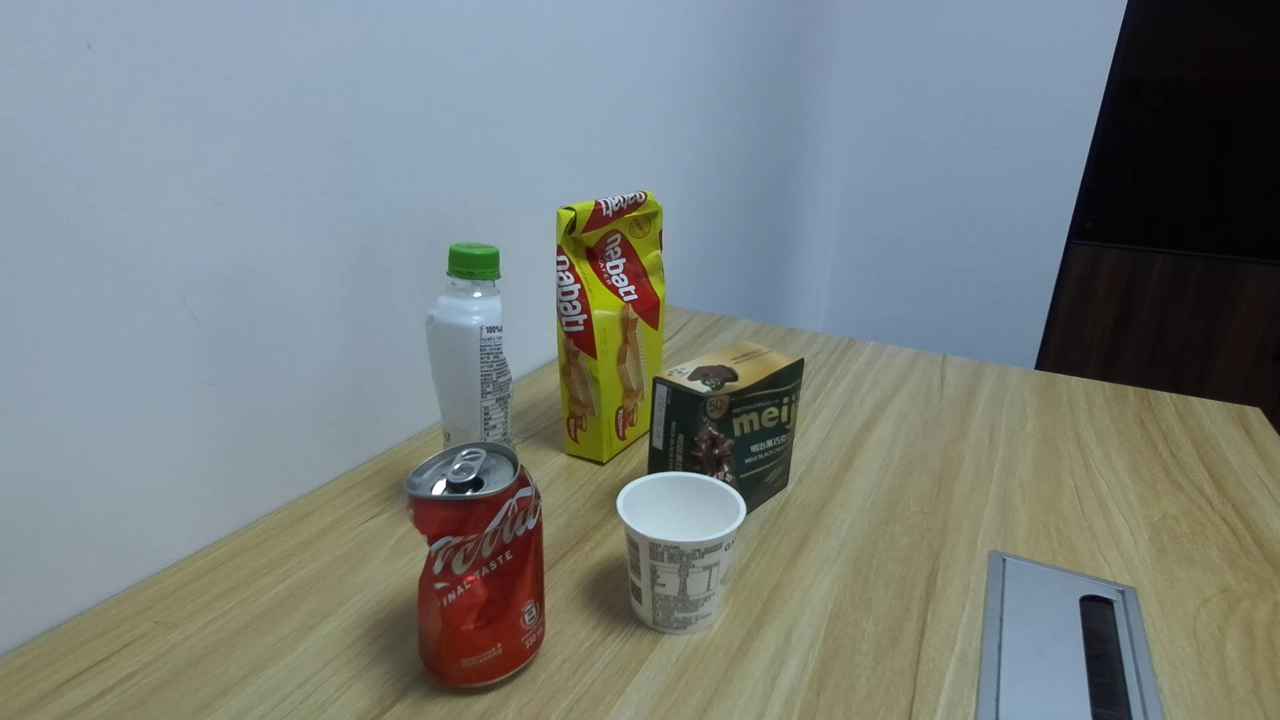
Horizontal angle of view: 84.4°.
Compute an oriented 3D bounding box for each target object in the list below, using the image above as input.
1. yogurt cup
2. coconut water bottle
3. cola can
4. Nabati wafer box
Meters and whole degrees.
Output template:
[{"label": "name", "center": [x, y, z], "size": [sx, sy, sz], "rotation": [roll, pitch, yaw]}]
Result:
[{"label": "yogurt cup", "center": [0.022, 0.110, 0.401], "size": [0.072, 0.068, 0.072], "rotation": [1, 22, 0]}, {"label": "coconut water bottle", "center": [-0.108, 0.018, 0.465], "size": [0.069, 0.187, 0.069], "rotation": [1, 19, 0]}, {"label": "cola can", "center": [-0.082, 0.102, 0.358], "size": [0.069, 0.112, 0.065], "rotation": [-16, 27, -38]}, {"label": "Nabati wafer box", "center": [-0.021, -0.026, 0.567], "size": [0.042, 0.205, 0.113], "rotation": [13, 25, 31]}]
